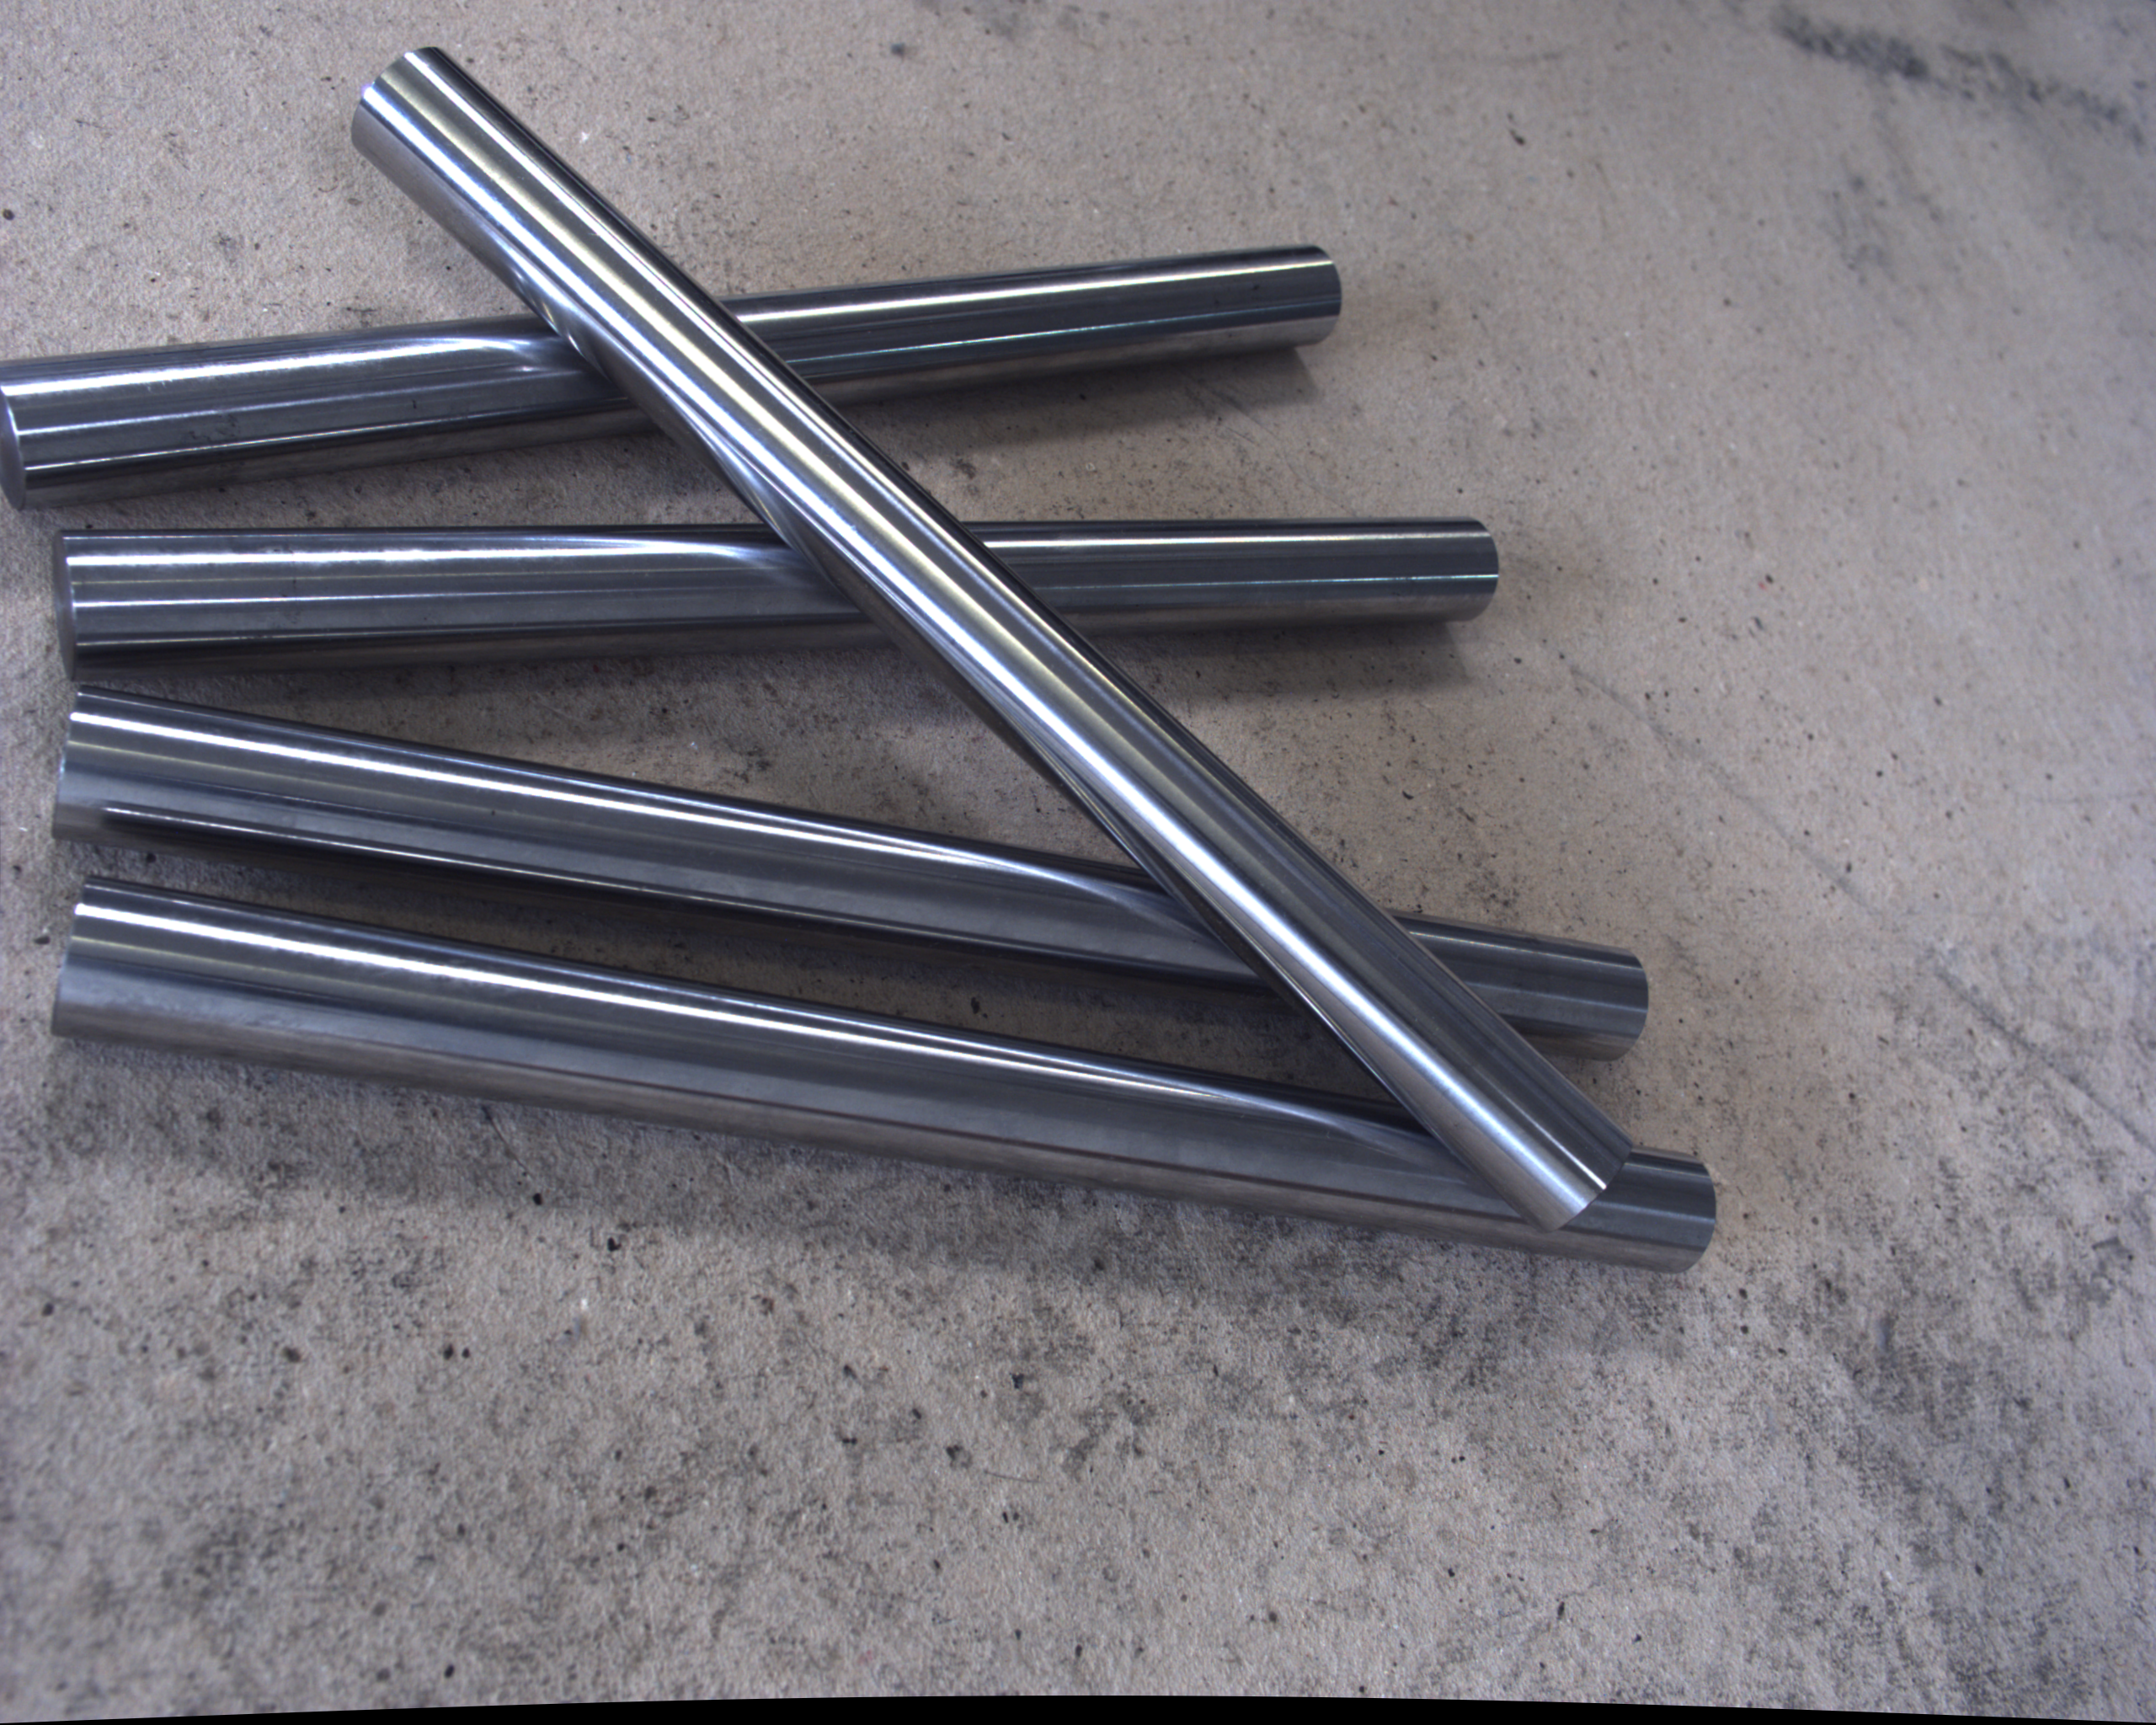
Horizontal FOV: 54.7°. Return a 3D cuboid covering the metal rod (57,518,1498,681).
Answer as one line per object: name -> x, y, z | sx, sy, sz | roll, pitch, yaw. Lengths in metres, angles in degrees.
metal rod -> -0.037, -0.056, 0.420 | 0.303, 0.025, 0.025 | -6, 65, -31

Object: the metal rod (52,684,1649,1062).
metal rod -> -0.023, 0.007, 0.388 | 0.302, 0.025, 0.025 | 10, 58, -23

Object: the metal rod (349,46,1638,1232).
metal rod -> -0.016, -0.042, 0.389 | 0.300, 0.025, 0.025 | 42, 51, 1

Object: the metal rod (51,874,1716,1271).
metal rod -> -0.015, 0.042, 0.371 | 0.302, 0.025, 0.025 | 12, 57, -22

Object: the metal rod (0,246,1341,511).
metal rod -> -0.062, -0.107, 0.438 | 0.302, 0.025, 0.025 | -16, 71, -35
